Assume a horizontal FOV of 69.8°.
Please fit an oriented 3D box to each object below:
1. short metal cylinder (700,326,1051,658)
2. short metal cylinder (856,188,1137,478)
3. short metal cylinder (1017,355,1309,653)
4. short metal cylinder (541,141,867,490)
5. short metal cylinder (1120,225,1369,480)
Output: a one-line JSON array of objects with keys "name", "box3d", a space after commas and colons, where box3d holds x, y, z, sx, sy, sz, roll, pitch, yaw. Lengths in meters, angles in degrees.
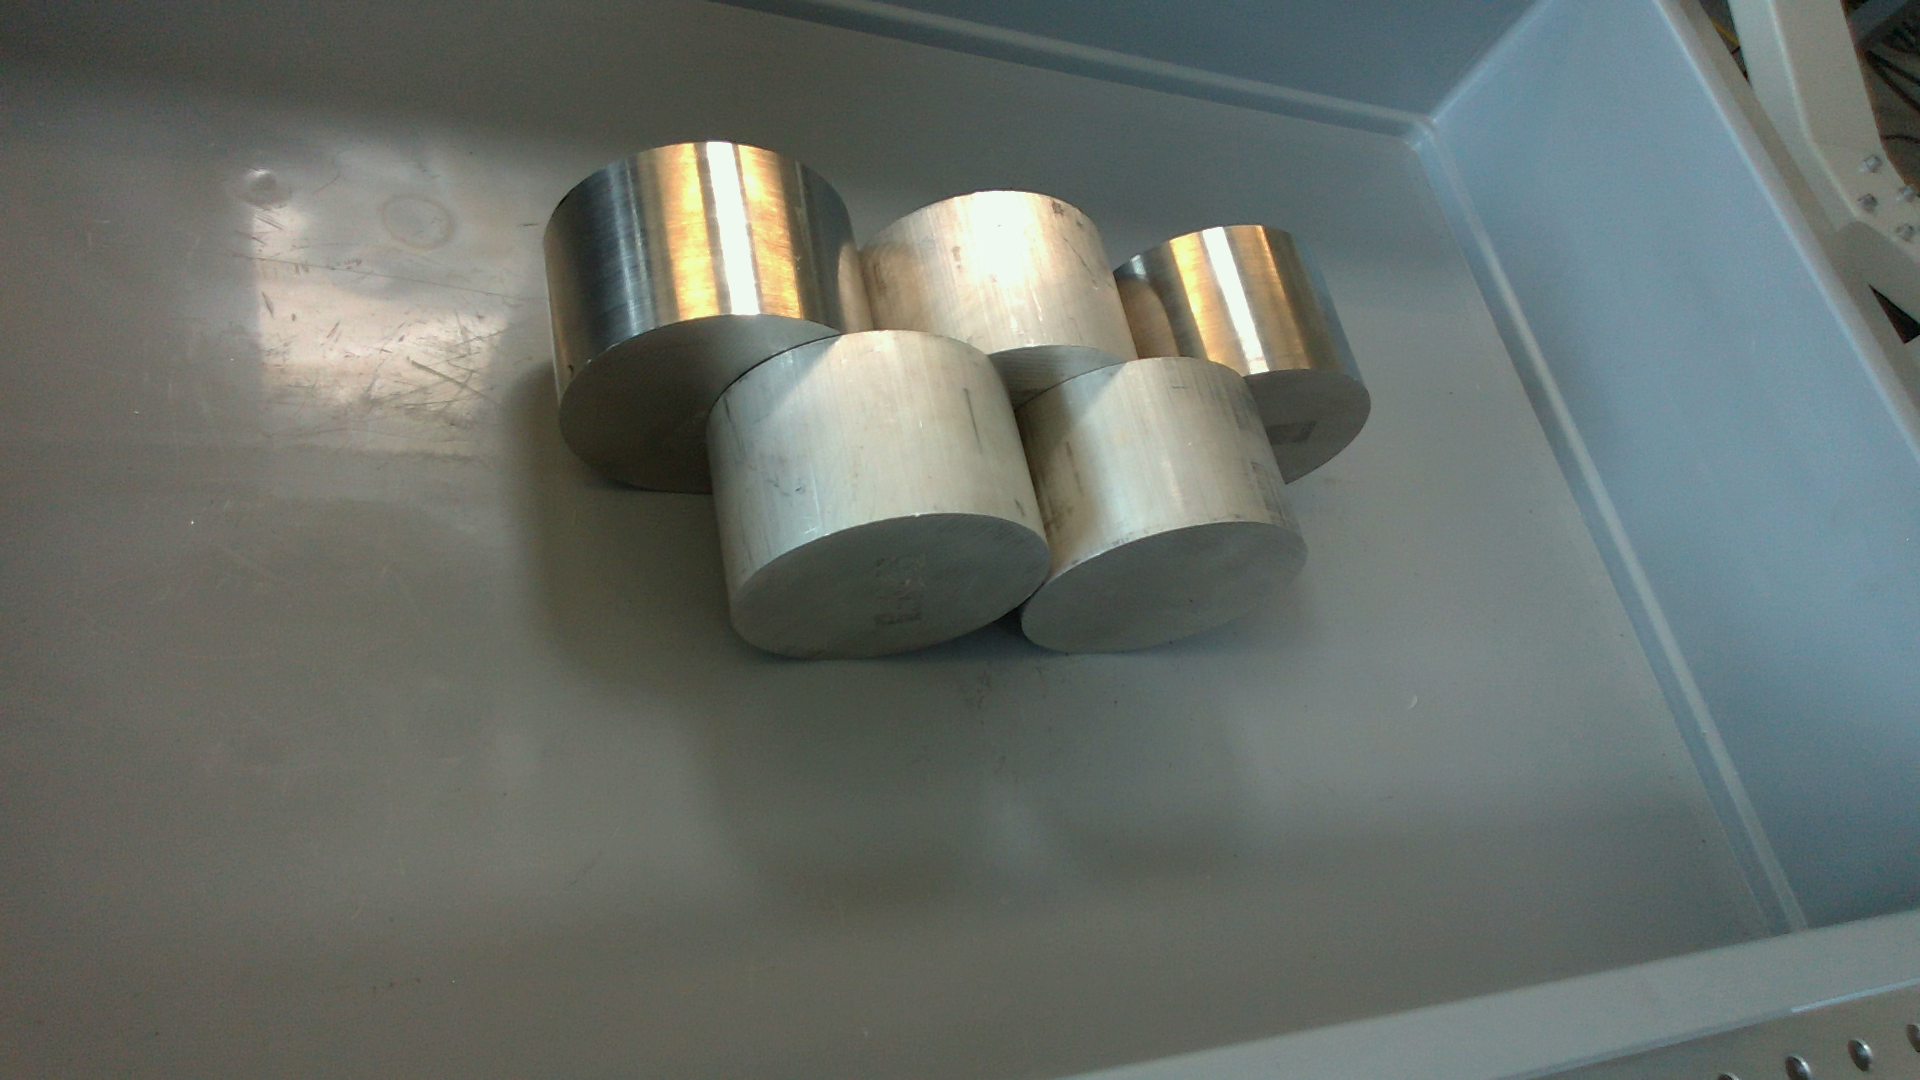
[{"name": "short metal cylinder", "box3d": [-0.022, -0.010, 0.347, 0.080, 0.080, 0.050, 1, 61, -28]}, {"name": "short metal cylinder", "box3d": [0.008, -0.053, 0.389, 0.080, 0.080, 0.050, 1, 61, -28]}, {"name": "short metal cylinder", "box3d": [0.051, -0.008, 0.385, 0.080, 0.080, 0.050, 1, 61, -28]}, {"name": "short metal cylinder", "box3d": [-0.064, -0.055, 0.352, 0.080, 0.080, 0.050, 1, 61, -28]}, {"name": "short metal cylinder", "box3d": [0.079, -0.052, 0.427, 0.080, 0.080, 0.050, 2, 61, -27]}]
